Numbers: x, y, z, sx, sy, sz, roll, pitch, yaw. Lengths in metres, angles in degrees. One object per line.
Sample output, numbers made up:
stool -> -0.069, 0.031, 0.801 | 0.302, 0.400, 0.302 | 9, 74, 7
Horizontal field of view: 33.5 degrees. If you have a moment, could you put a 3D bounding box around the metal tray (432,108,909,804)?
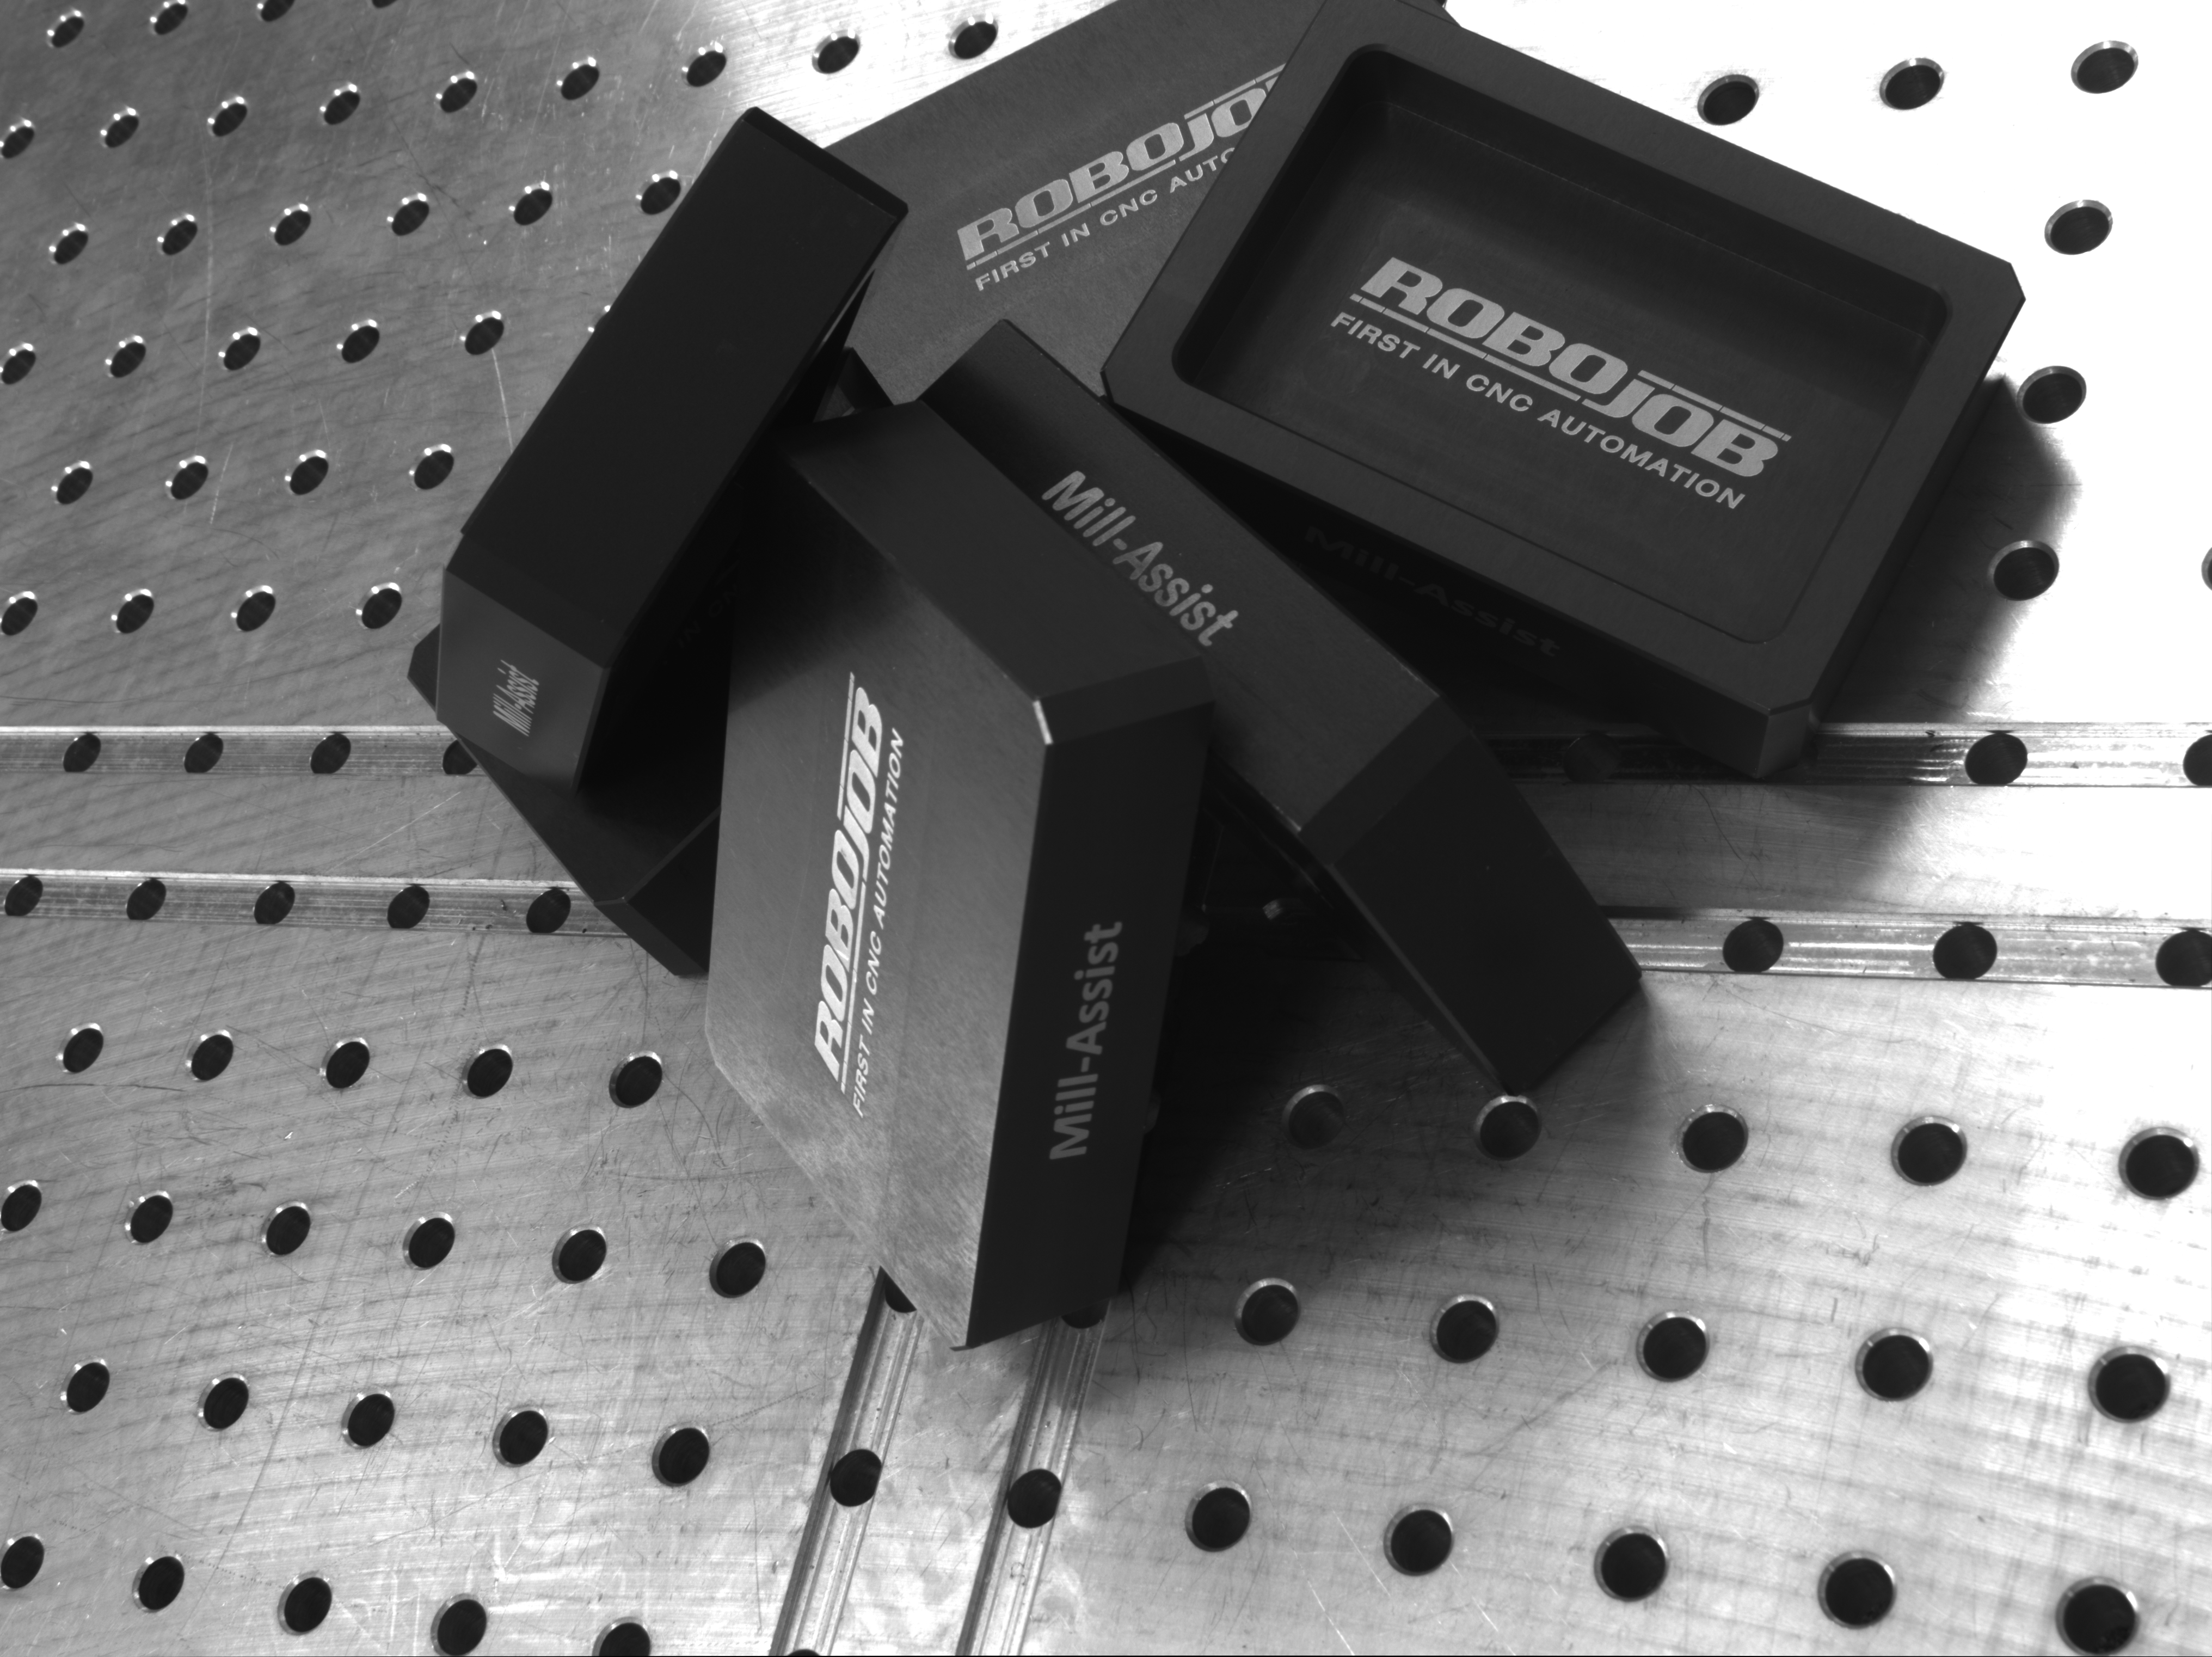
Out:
metal tray -> -0.078, -0.059, 0.630 | 0.030, 0.130, 0.090 | 32, 76, -4

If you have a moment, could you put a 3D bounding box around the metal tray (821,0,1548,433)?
metal tray -> 0.010, -0.113, 0.686 | 0.130, 0.030, 0.090 | -29, 54, -8

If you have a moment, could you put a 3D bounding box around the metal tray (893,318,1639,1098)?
metal tray -> 0.024, -0.021, 0.605 | 0.030, 0.090, 0.130 | -43, 51, -2

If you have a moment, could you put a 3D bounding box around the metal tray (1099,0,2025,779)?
metal tray -> 0.076, -0.077, 0.620 | 0.130, 0.030, 0.090 | 27, 75, 14

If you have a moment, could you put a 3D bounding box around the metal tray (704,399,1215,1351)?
metal tray -> -0.028, 0.008, 0.597 | 0.030, 0.130, 0.090 | -16, 43, -30

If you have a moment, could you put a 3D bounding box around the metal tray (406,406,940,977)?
metal tray -> -0.062, -0.045, 0.707 | 0.130, 0.030, 0.090 | -44, 51, -2
